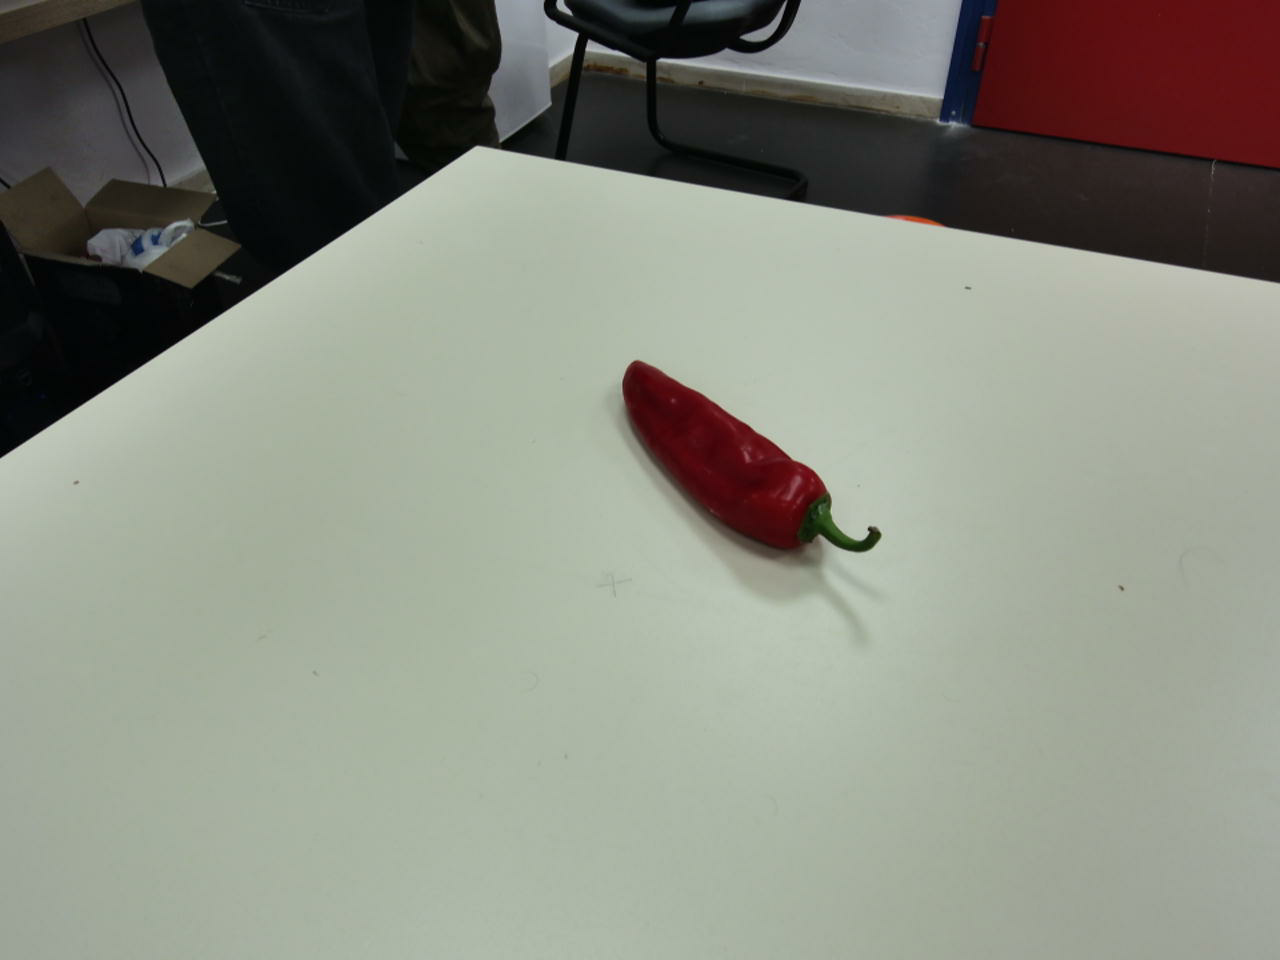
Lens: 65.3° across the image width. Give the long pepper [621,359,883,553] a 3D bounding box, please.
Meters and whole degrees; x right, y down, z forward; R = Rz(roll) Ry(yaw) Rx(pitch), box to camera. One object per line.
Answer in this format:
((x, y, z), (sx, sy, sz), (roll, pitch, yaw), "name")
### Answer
((0.045, -0.013, 0.534), (0.050, 0.043, 0.211), (-21, 43, -25), "long pepper")
